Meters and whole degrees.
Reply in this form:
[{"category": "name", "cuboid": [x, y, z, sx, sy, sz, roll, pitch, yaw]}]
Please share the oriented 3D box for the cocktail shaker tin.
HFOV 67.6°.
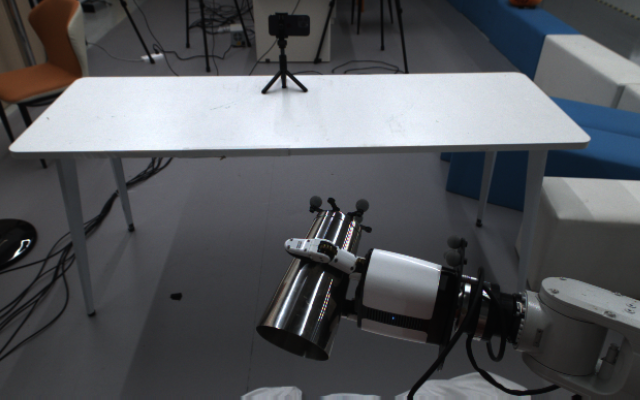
[{"category": "cocktail shaker tin", "cuboid": [-0.004, 0.099, 0.602, 0.093, 0.093, 0.170, 14, 58, 16]}]
